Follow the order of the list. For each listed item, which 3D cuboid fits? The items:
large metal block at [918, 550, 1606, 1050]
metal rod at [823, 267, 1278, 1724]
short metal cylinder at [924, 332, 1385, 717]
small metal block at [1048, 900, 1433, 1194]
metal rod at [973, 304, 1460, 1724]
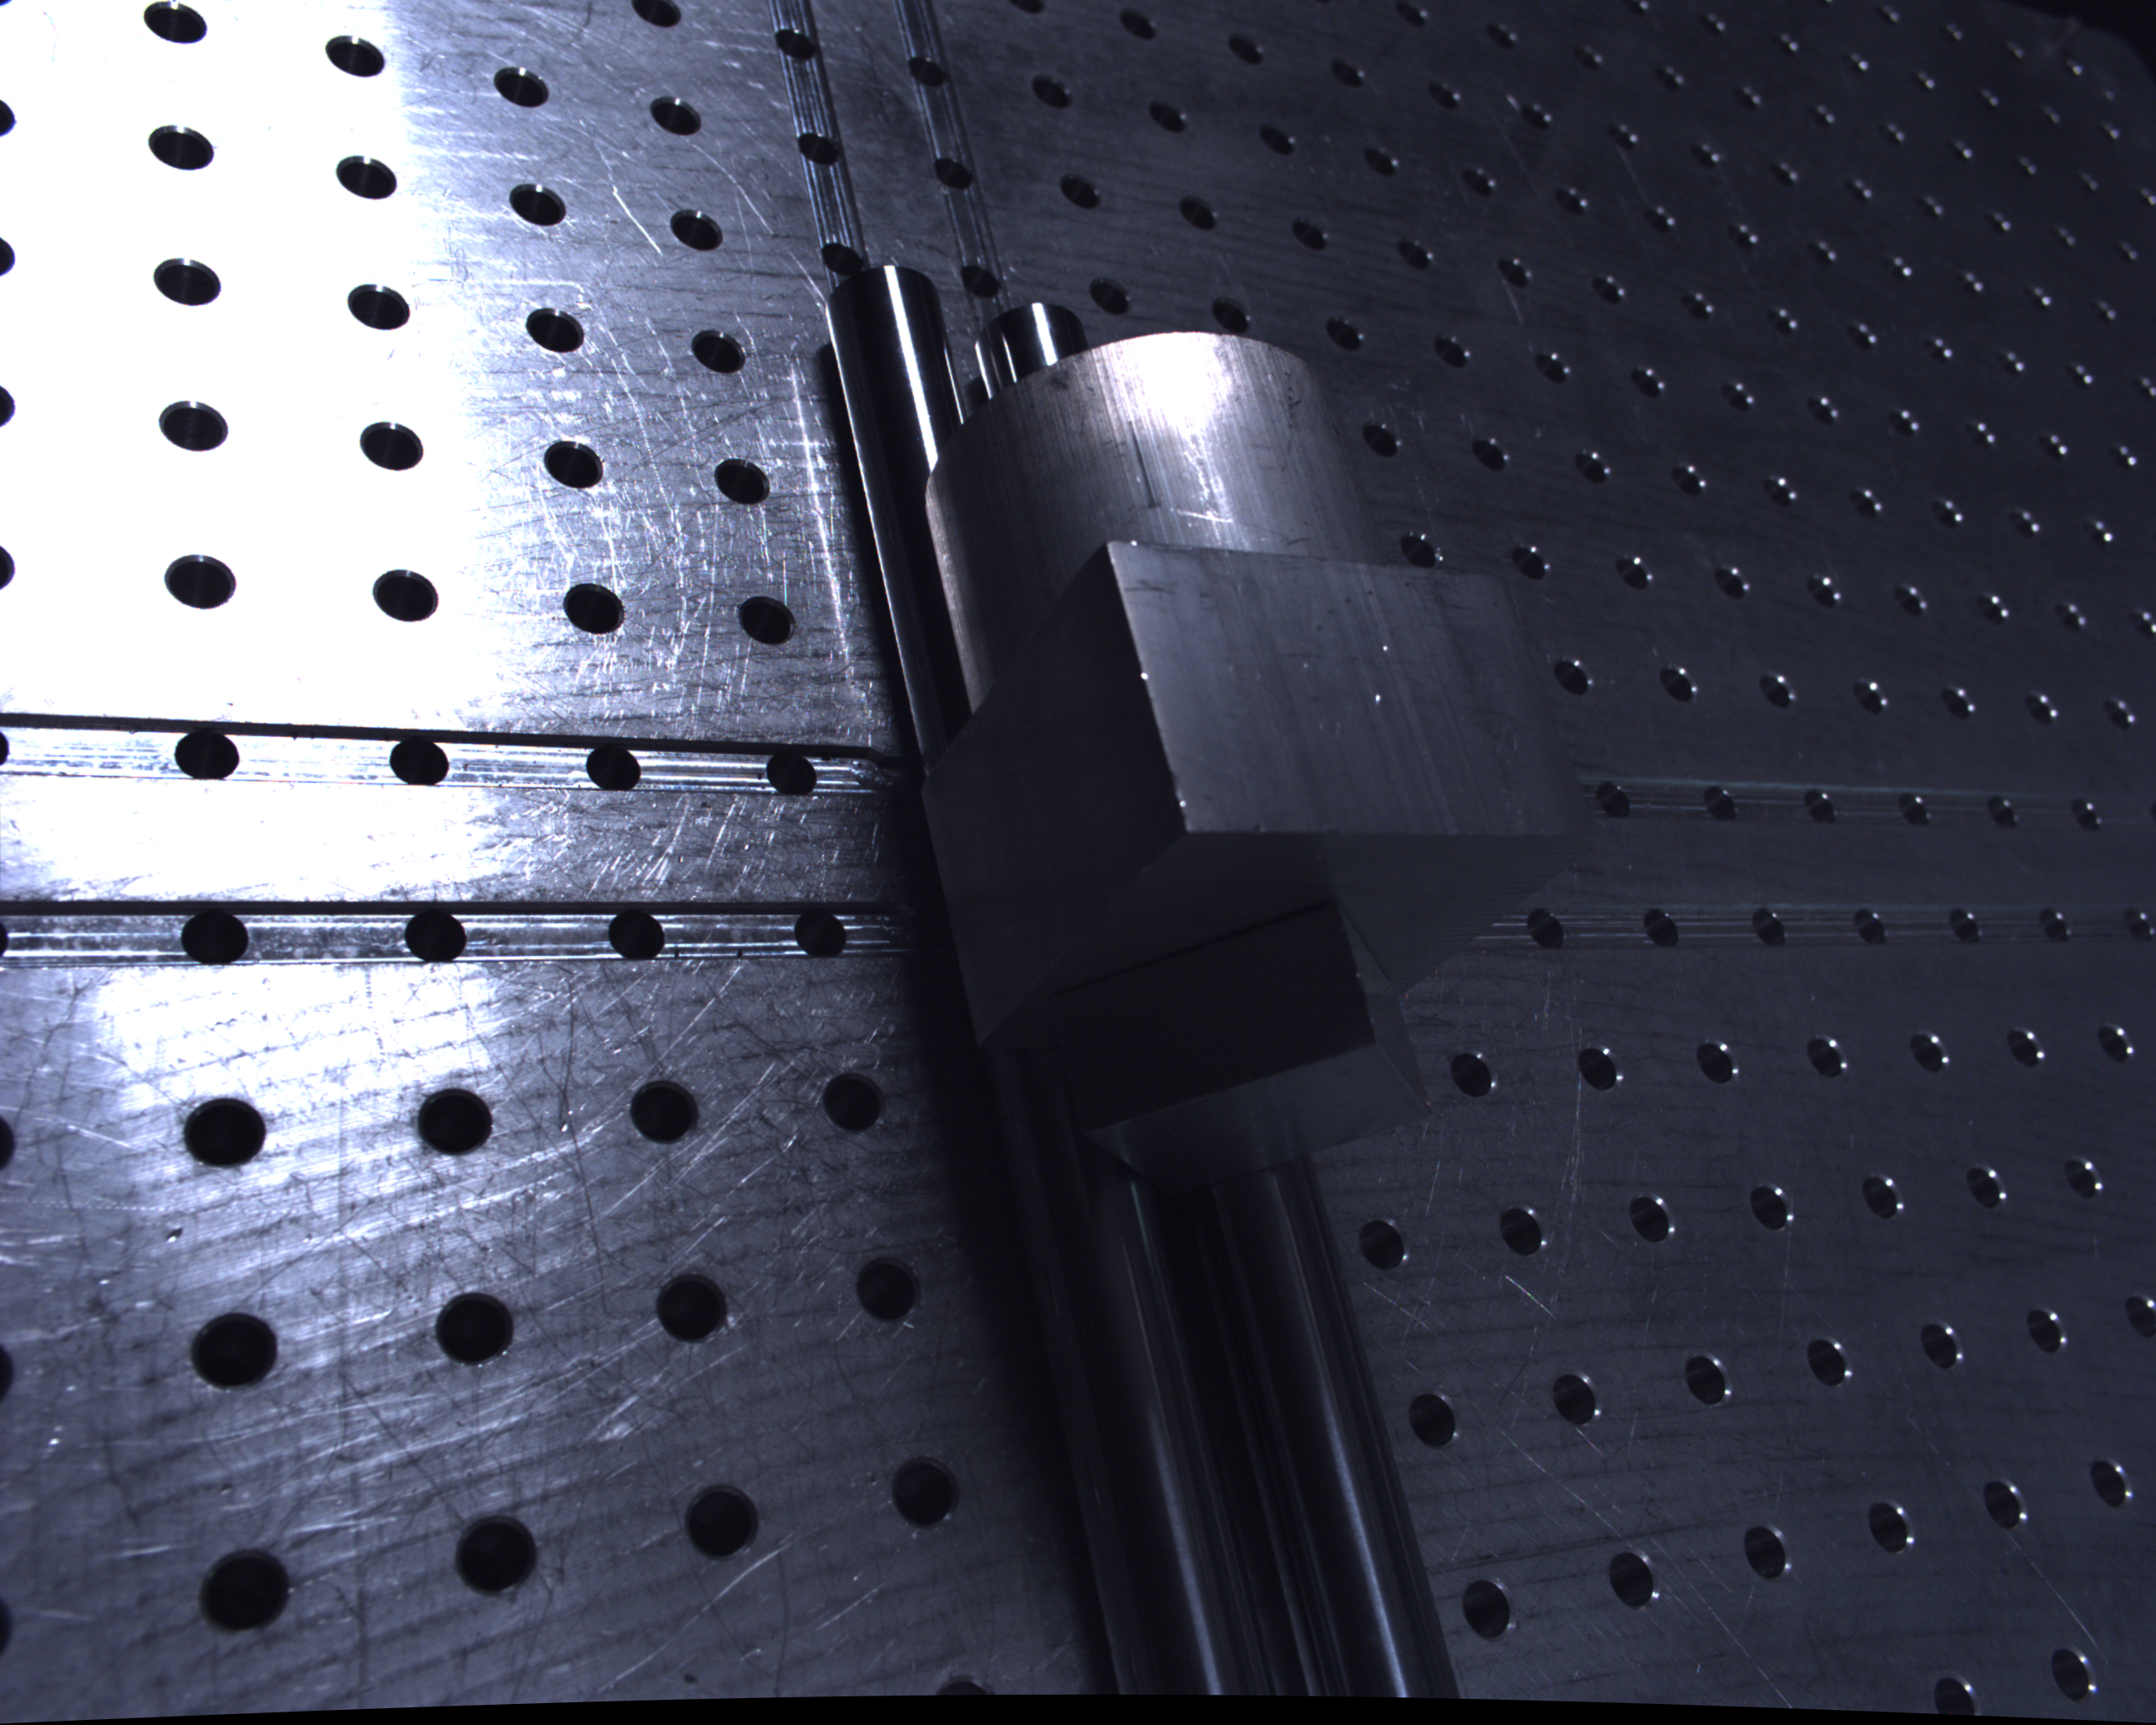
[{"bbox_3d":[0.028,-0.008,0.363,0.081,0.080,0.050,0,62,-29],"label":"large metal block"},{"bbox_3d":[-0.012,0.008,0.399,0.025,0.025,0.299,1,61,-28],"label":"metal rod"},{"bbox_3d":[0.016,-0.052,0.387,0.081,0.080,0.050,1,62,-28],"label":"short metal cylinder"},{"bbox_3d":[0.029,0.033,0.360,0.050,0.050,0.025,46,27,-62],"label":"small metal block"},{"bbox_3d":[0.020,0.012,0.415,0.025,0.025,0.299,1,61,-28],"label":"metal rod"}]
